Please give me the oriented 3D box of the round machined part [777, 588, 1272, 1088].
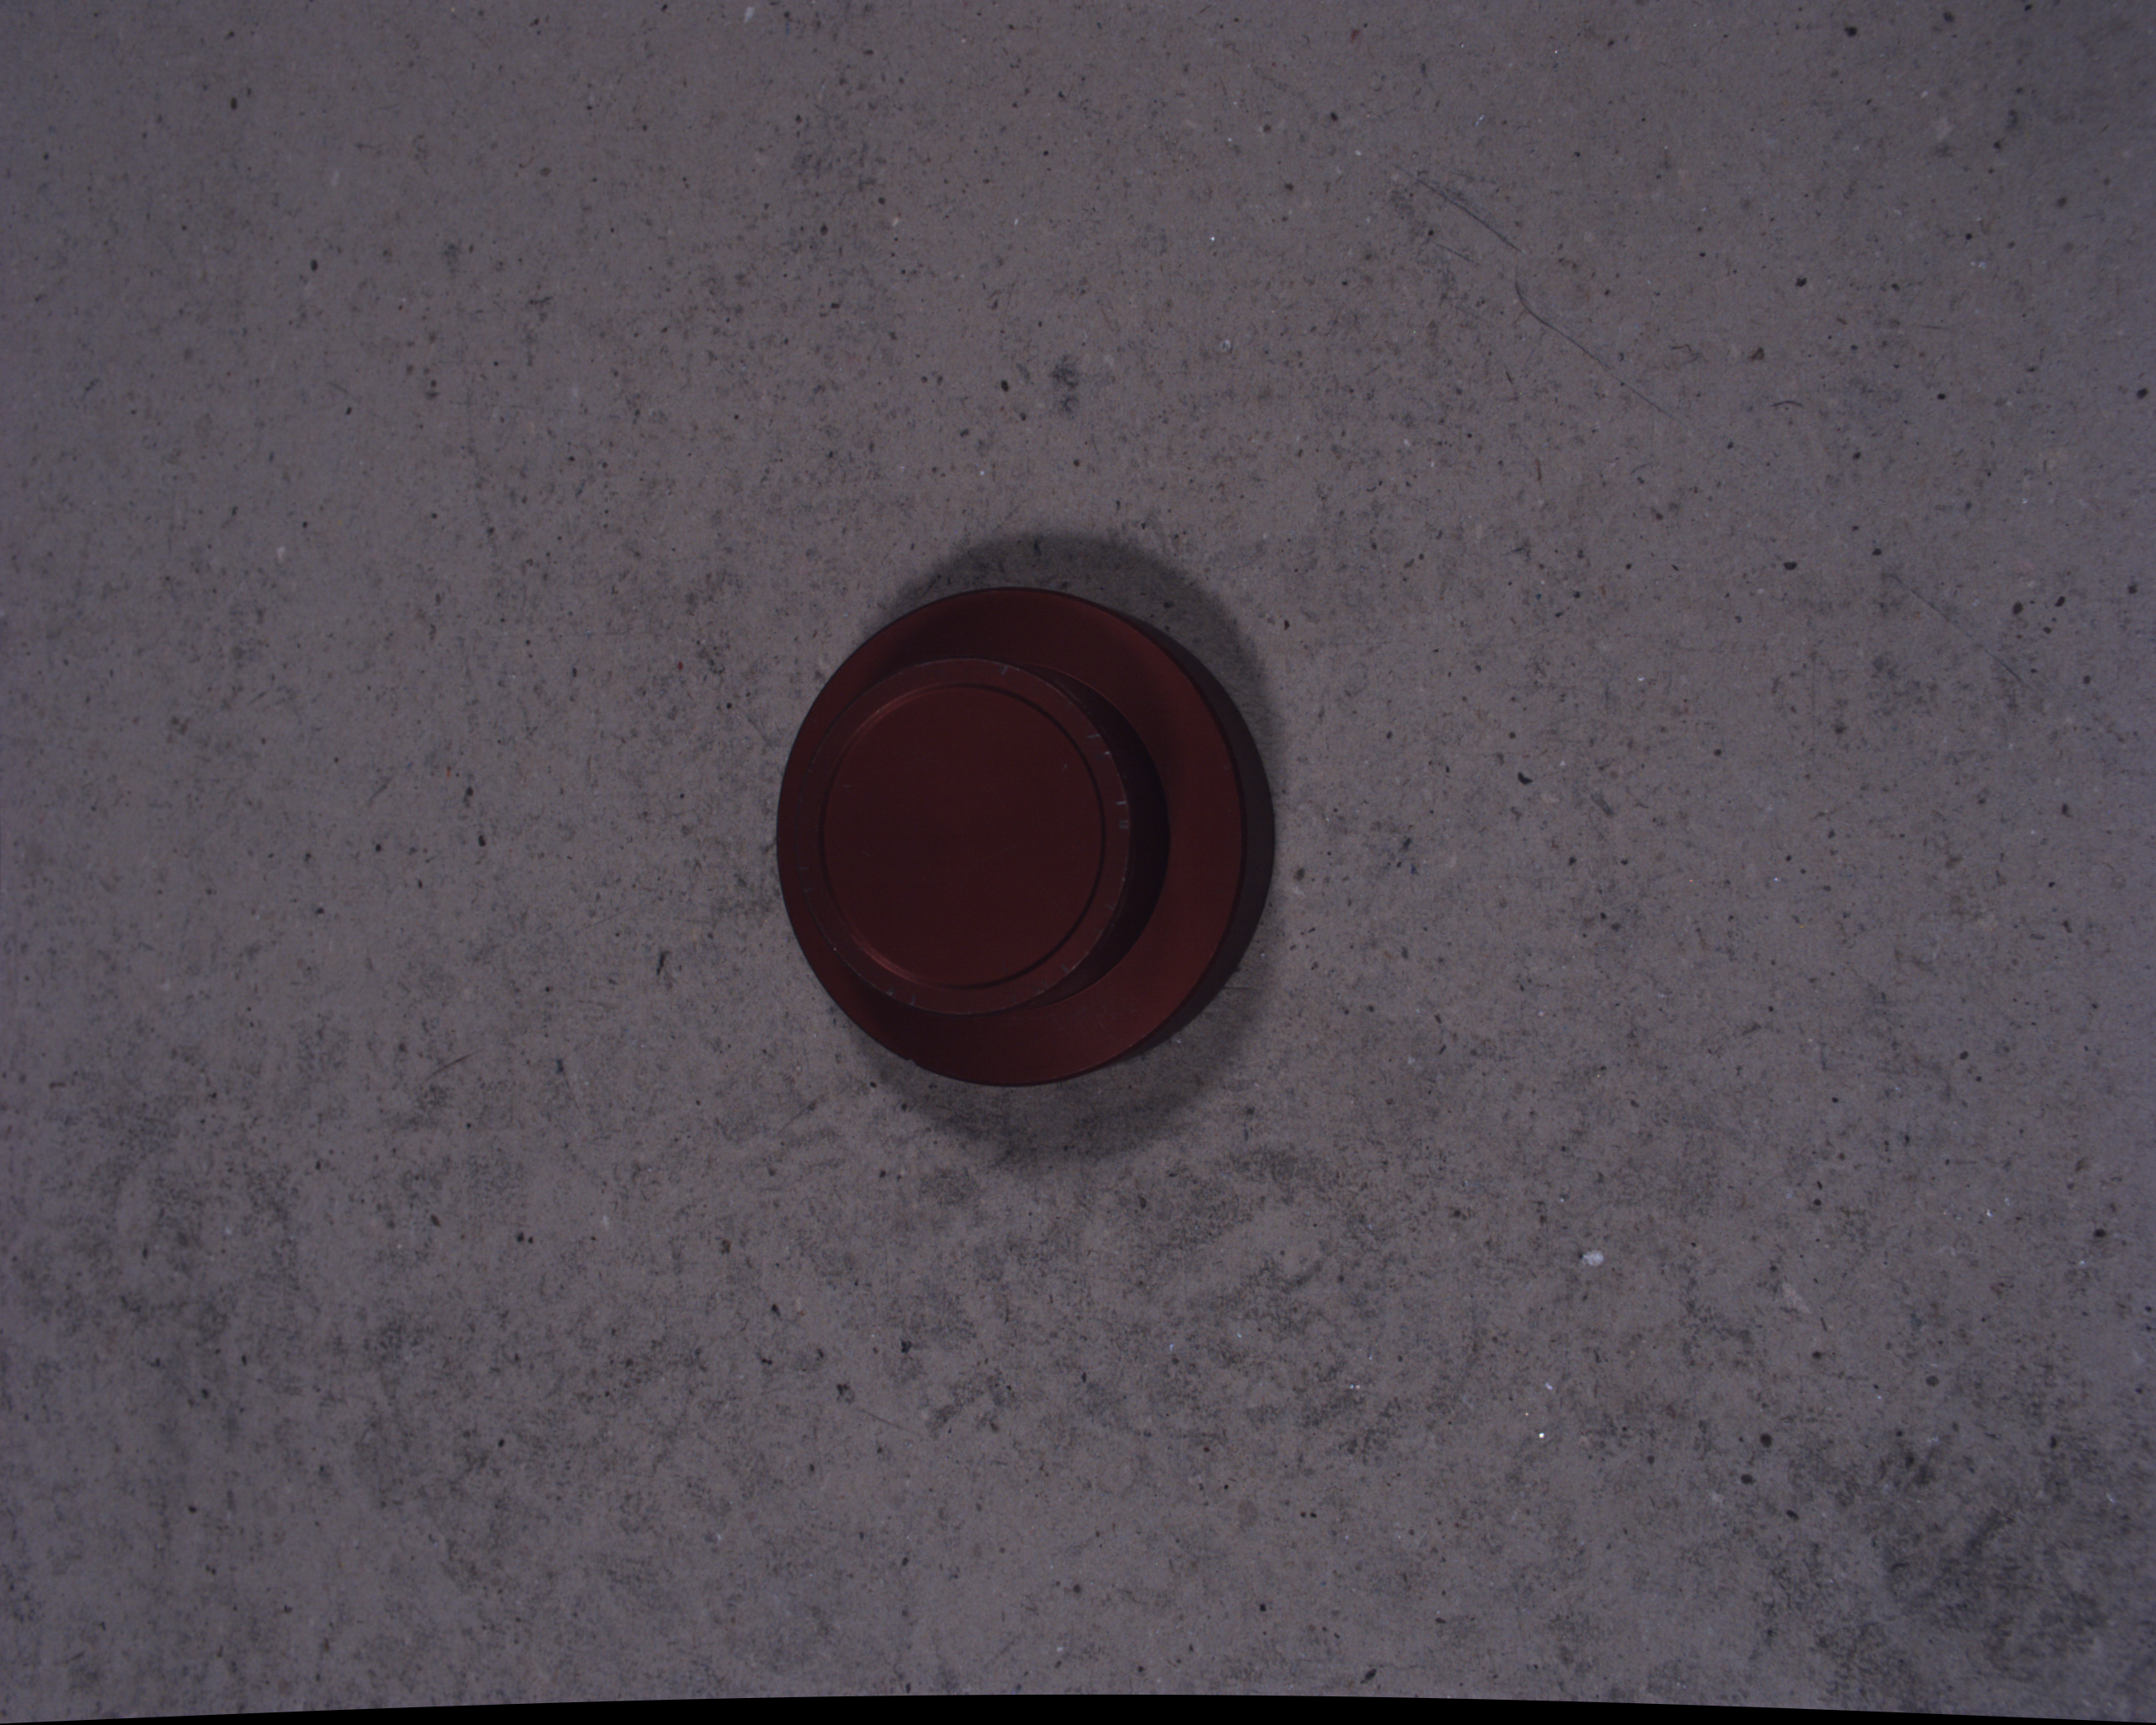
[{"bbox_3d":[-0.015,-0.005,0.405,0.098,0.042,0.097,0,90,19],"label":"round machined part"}]
